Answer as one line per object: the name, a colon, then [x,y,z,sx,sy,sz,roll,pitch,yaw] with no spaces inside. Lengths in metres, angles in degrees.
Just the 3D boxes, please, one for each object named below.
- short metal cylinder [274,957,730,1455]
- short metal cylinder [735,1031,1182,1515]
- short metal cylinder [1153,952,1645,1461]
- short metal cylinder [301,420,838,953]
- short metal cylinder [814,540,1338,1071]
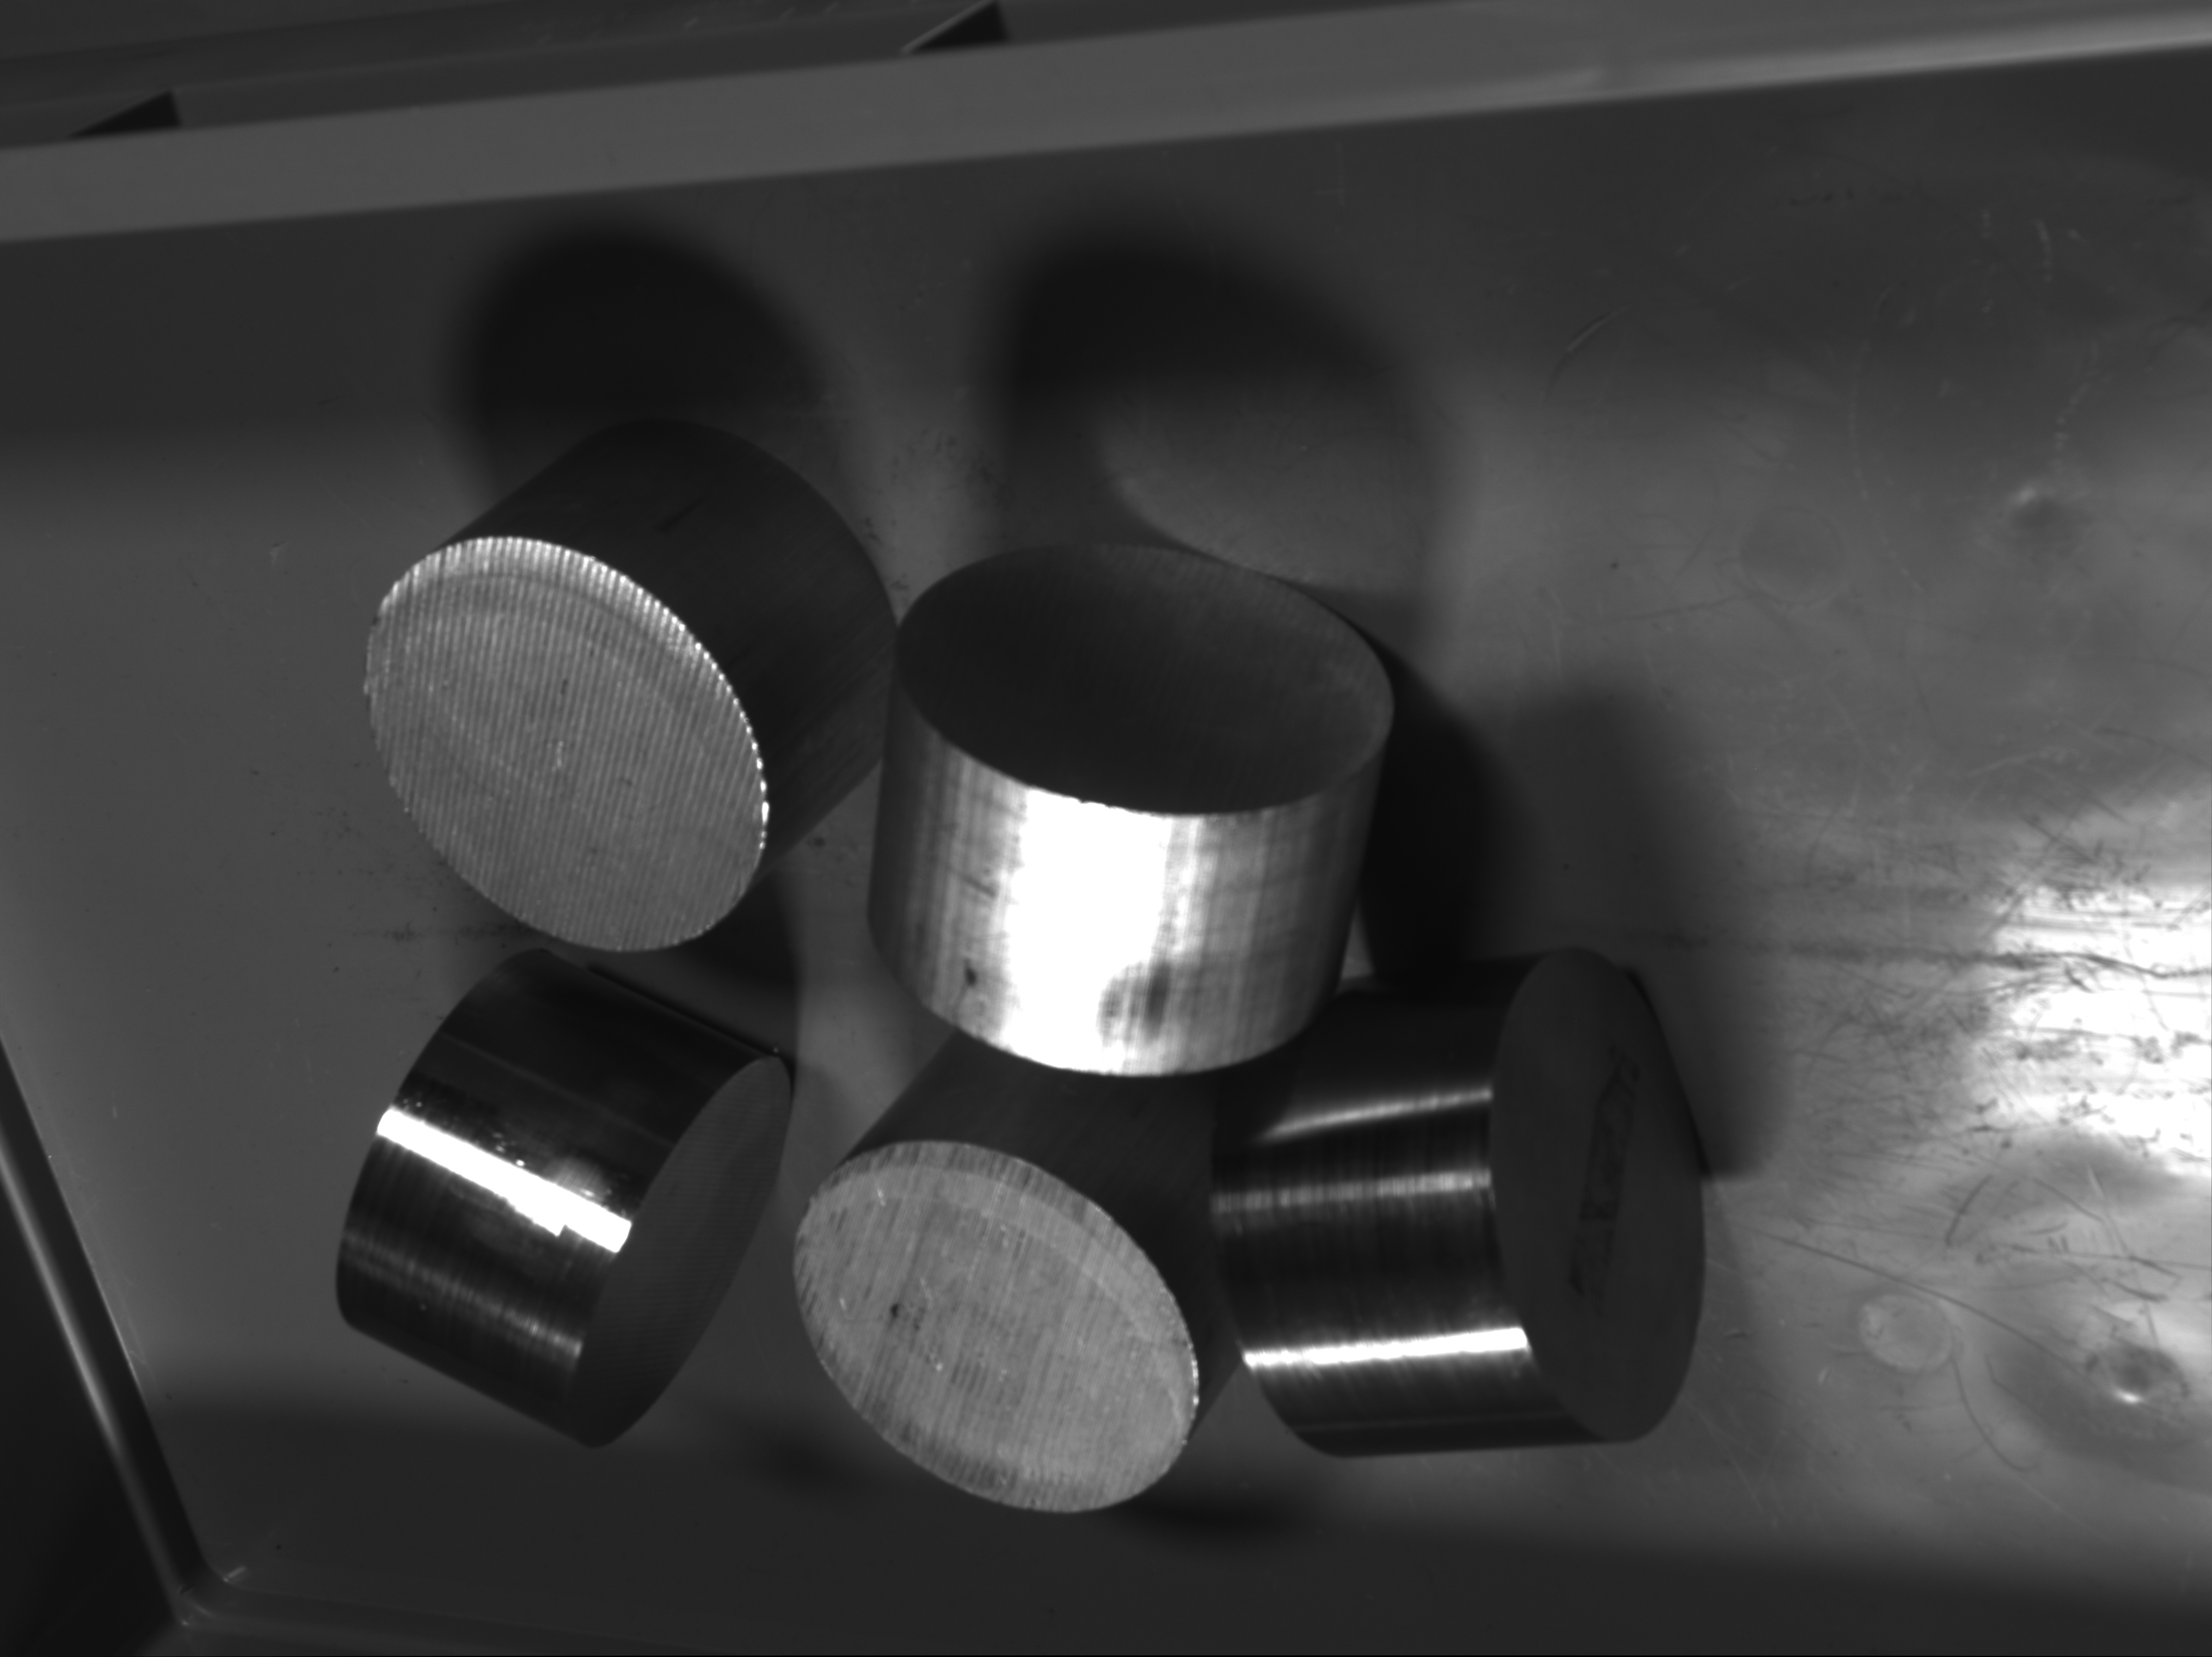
short metal cylinder: [-0.113,0.071,0.693,0.050,0.080,0.080,24,126,12]
short metal cylinder: [-0.021,0.078,0.671,0.080,0.050,0.080,12,123,20]
short metal cylinder: [0.050,0.063,0.607,0.050,0.080,0.080,-9,114,31]
short metal cylinder: [-0.093,-0.025,0.645,0.080,0.050,0.080,12,123,20]
short metal cylinder: [-0.006,-0.005,0.596,0.080,0.080,0.050,20,125,15]
